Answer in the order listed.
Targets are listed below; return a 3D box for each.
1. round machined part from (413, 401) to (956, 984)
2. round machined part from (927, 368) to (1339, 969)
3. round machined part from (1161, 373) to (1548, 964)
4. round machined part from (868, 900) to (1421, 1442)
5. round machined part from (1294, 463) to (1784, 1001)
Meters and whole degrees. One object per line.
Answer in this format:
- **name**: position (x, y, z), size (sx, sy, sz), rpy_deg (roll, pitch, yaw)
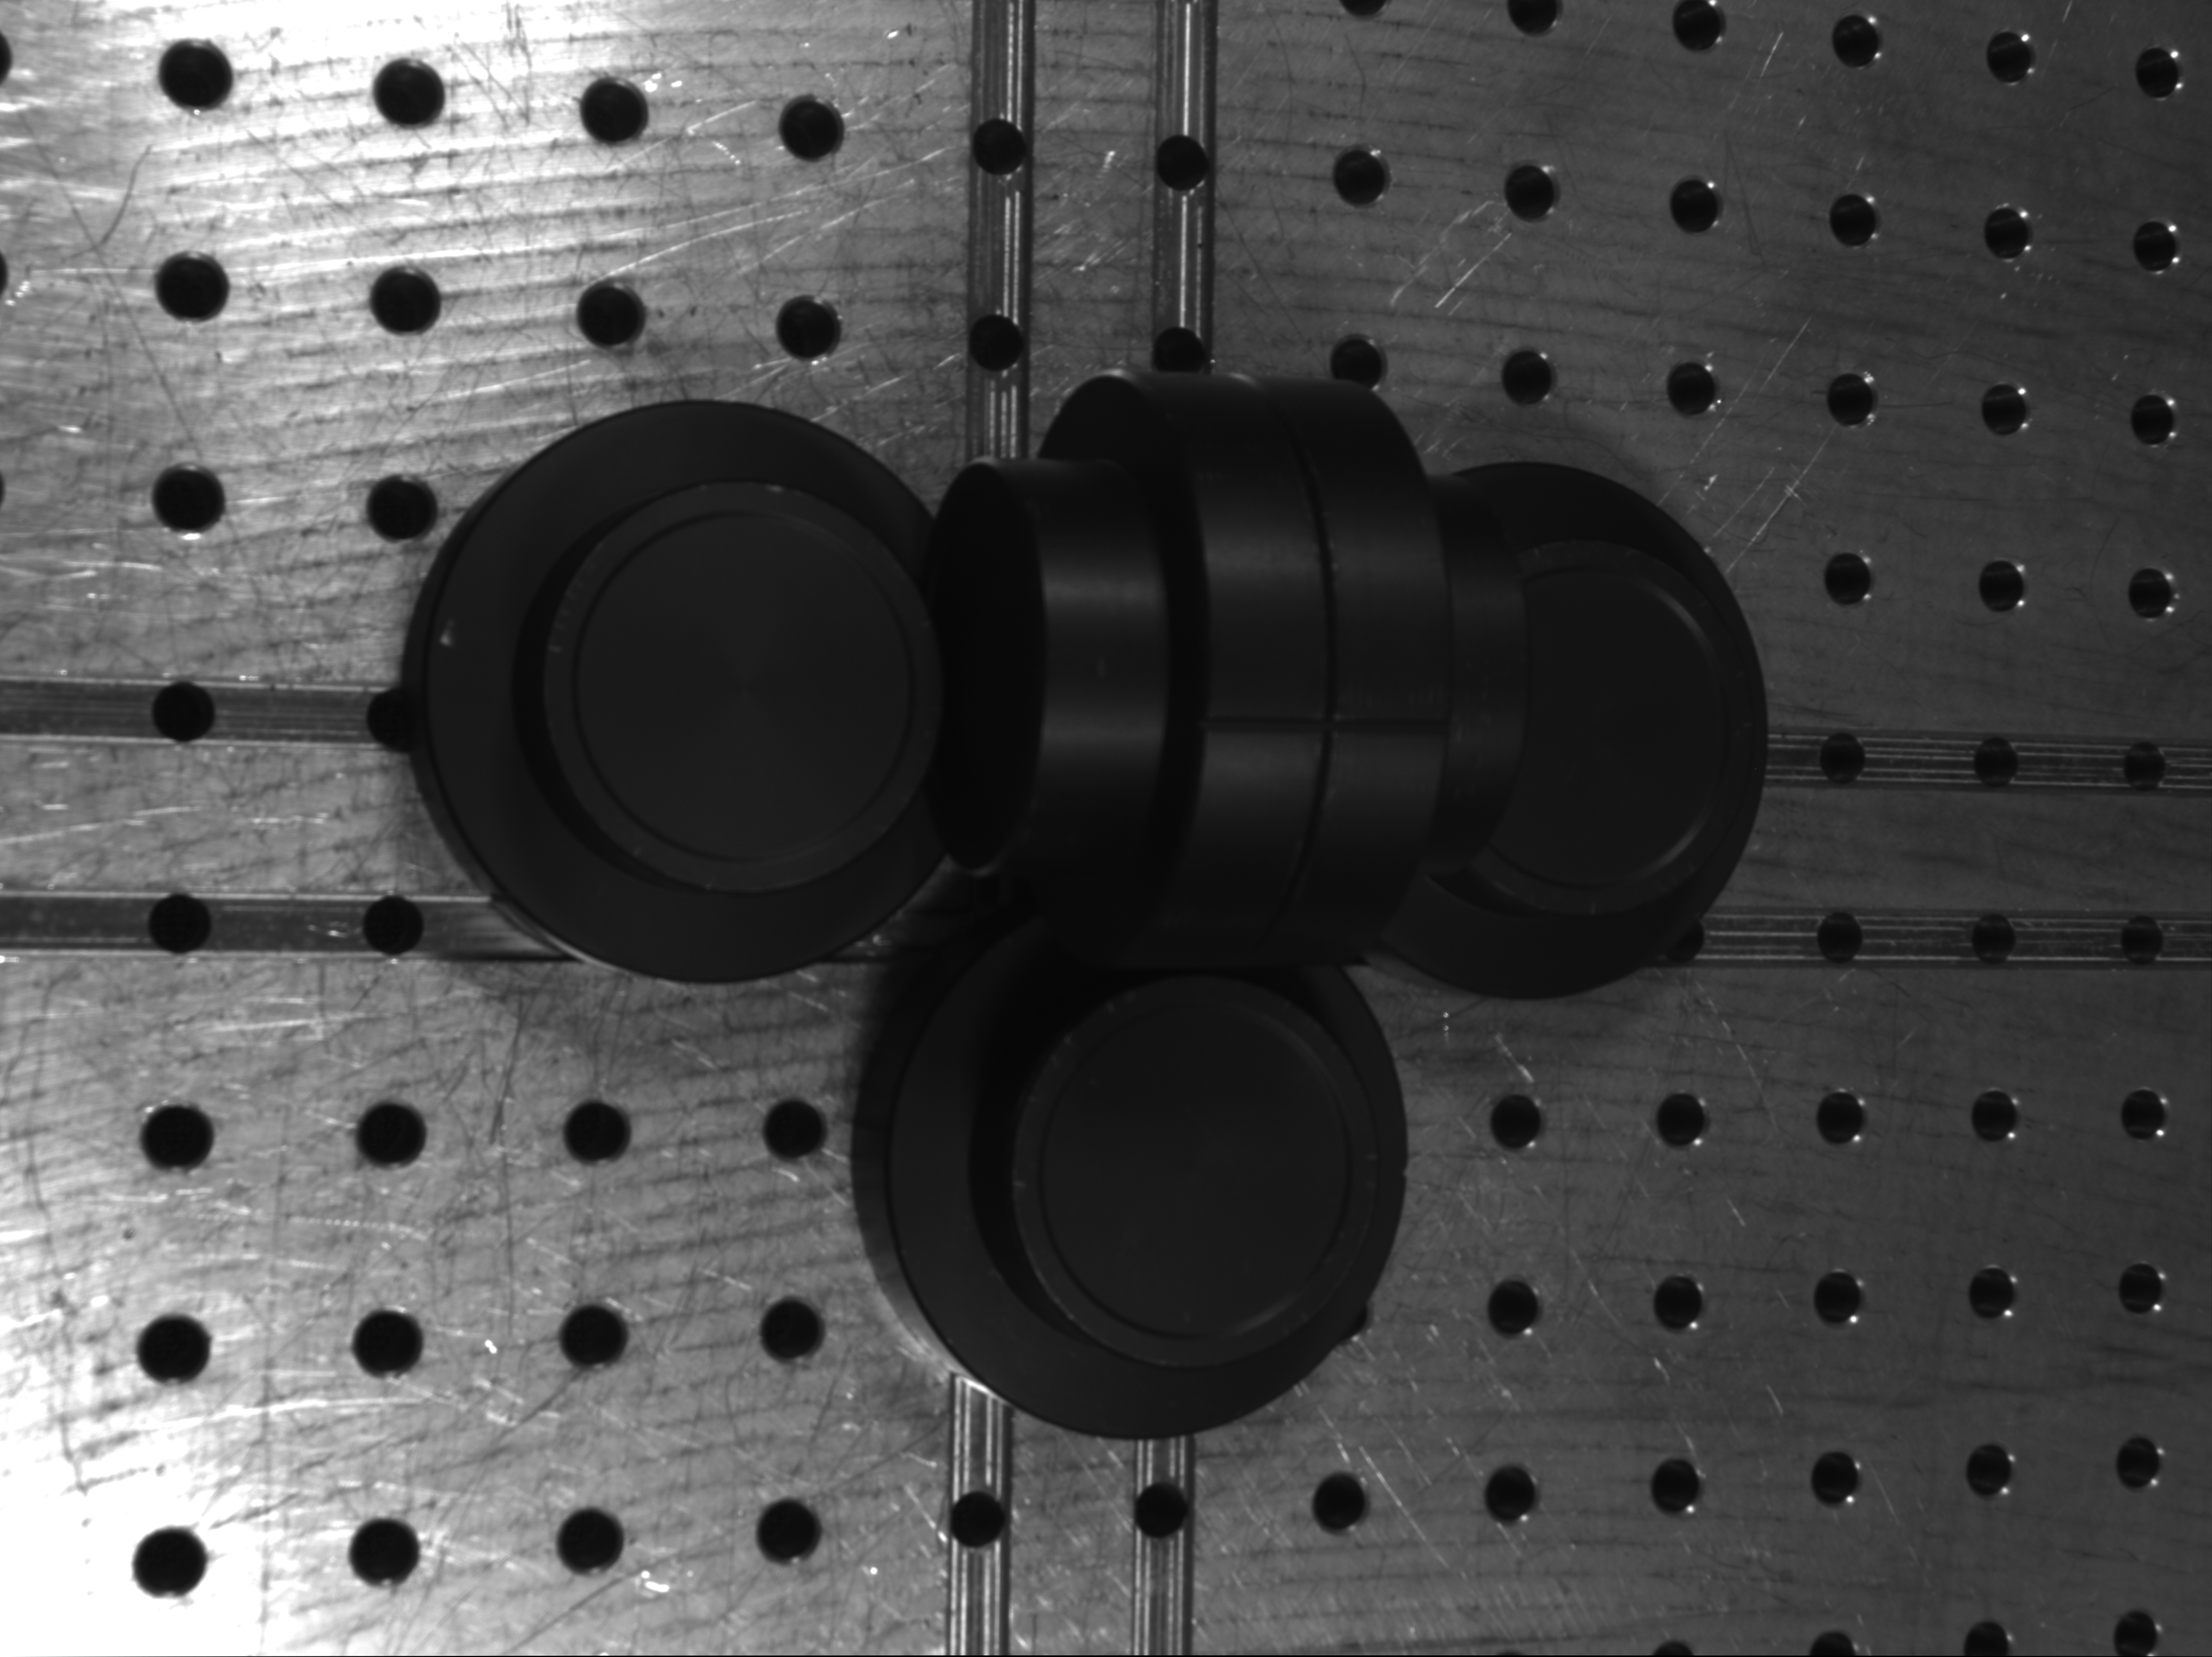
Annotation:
- **round machined part**: position (-0.064, -0.023, 0.614), size (0.098, 0.042, 0.098), rpy_deg (0, 90, -20)
- **round machined part**: position (0.000, -0.026, 0.600), size (0.042, 0.098, 0.098), rpy_deg (2, 89, -20)
- **round machined part**: position (0.041, -0.027, 0.616), size (0.042, 0.098, 0.098), rpy_deg (-1, 90, -20)
- **round machined part**: position (0.011, 0.059, 0.640), size (0.098, 0.042, 0.098), rpy_deg (0, 90, -20)
- **round machined part**: position (0.081, -0.017, 0.665), size (0.098, 0.042, 0.098), rpy_deg (0, 90, -20)
